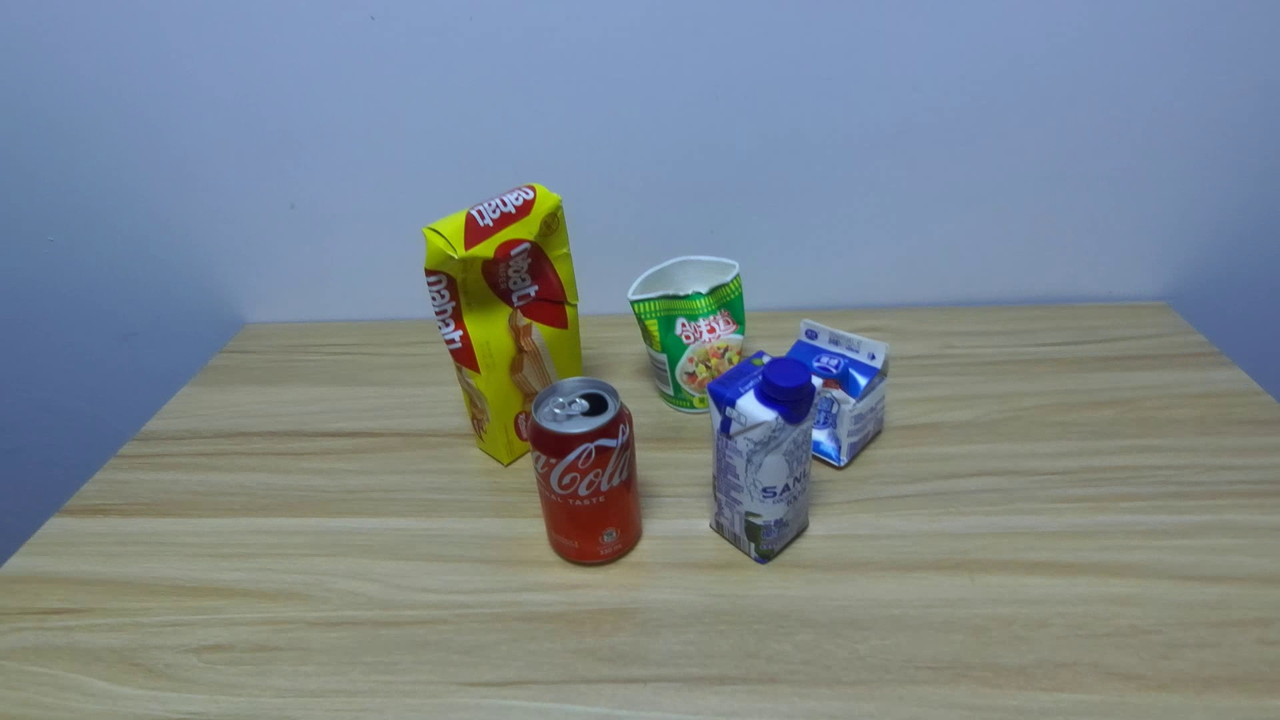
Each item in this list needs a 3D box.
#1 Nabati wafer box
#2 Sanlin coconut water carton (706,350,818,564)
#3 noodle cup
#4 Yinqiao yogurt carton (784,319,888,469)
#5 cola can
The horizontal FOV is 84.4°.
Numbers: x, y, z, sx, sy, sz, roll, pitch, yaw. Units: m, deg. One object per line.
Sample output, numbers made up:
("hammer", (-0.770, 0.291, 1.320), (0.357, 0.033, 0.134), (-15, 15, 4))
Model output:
("Nabati wafer box", (-0.098, -0.022, 0.537), (0.042, 0.204, 0.107), (27, 45, 36))
("Sanlin coconut water carton", (0.078, 0.058, 0.450), (0.061, 0.144, 0.060), (-32, 42, -32))
("noodle cup", (0.048, -0.021, 0.599), (0.082, 0.122, 0.075), (-5, 25, 17))
("Yinqiao yogurt carton", (0.147, 0.019, 0.546), (0.077, 0.094, 0.071), (25, 39, 34))
("cola can", (-0.035, 0.074, 0.466), (0.068, 0.120, 0.068), (-3, 34, 2))
